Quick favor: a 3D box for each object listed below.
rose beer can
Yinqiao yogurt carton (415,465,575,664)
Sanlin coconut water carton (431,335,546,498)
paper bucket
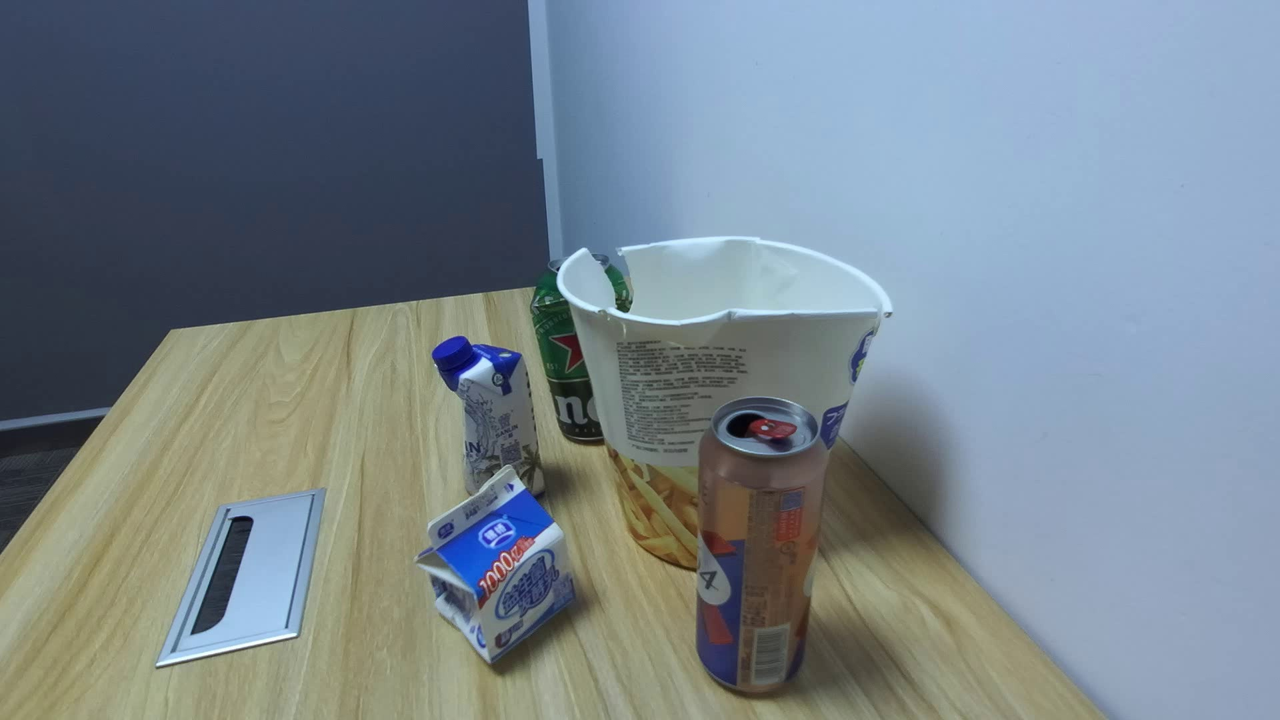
[{"bbox_3d":[0.066,0.107,0.397,0.068,0.169,0.068,-2,28,1],"label":"rose beer can"},{"bbox_3d":[-0.099,0.124,0.453,0.080,0.097,0.075,11,29,39],"label":"Yinqiao yogurt carton"},{"bbox_3d":[-0.116,0.044,0.554,0.070,0.144,0.060,-20,31,-28],"label":"Sanlin coconut water carton"},{"bbox_3d":[0.051,0.026,0.513,0.203,0.197,0.145,-4,28,-5],"label":"paper bucket"}]
